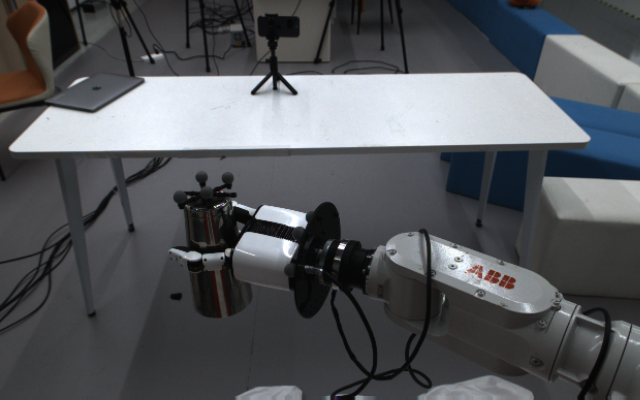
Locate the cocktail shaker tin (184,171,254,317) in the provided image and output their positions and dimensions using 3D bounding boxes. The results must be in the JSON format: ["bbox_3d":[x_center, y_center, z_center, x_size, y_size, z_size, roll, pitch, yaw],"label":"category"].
[{"bbox_3d":[-0.152,0.076,0.710,0.093,0.170,0.093,-2,26,1],"label":"cocktail shaker tin"}]
